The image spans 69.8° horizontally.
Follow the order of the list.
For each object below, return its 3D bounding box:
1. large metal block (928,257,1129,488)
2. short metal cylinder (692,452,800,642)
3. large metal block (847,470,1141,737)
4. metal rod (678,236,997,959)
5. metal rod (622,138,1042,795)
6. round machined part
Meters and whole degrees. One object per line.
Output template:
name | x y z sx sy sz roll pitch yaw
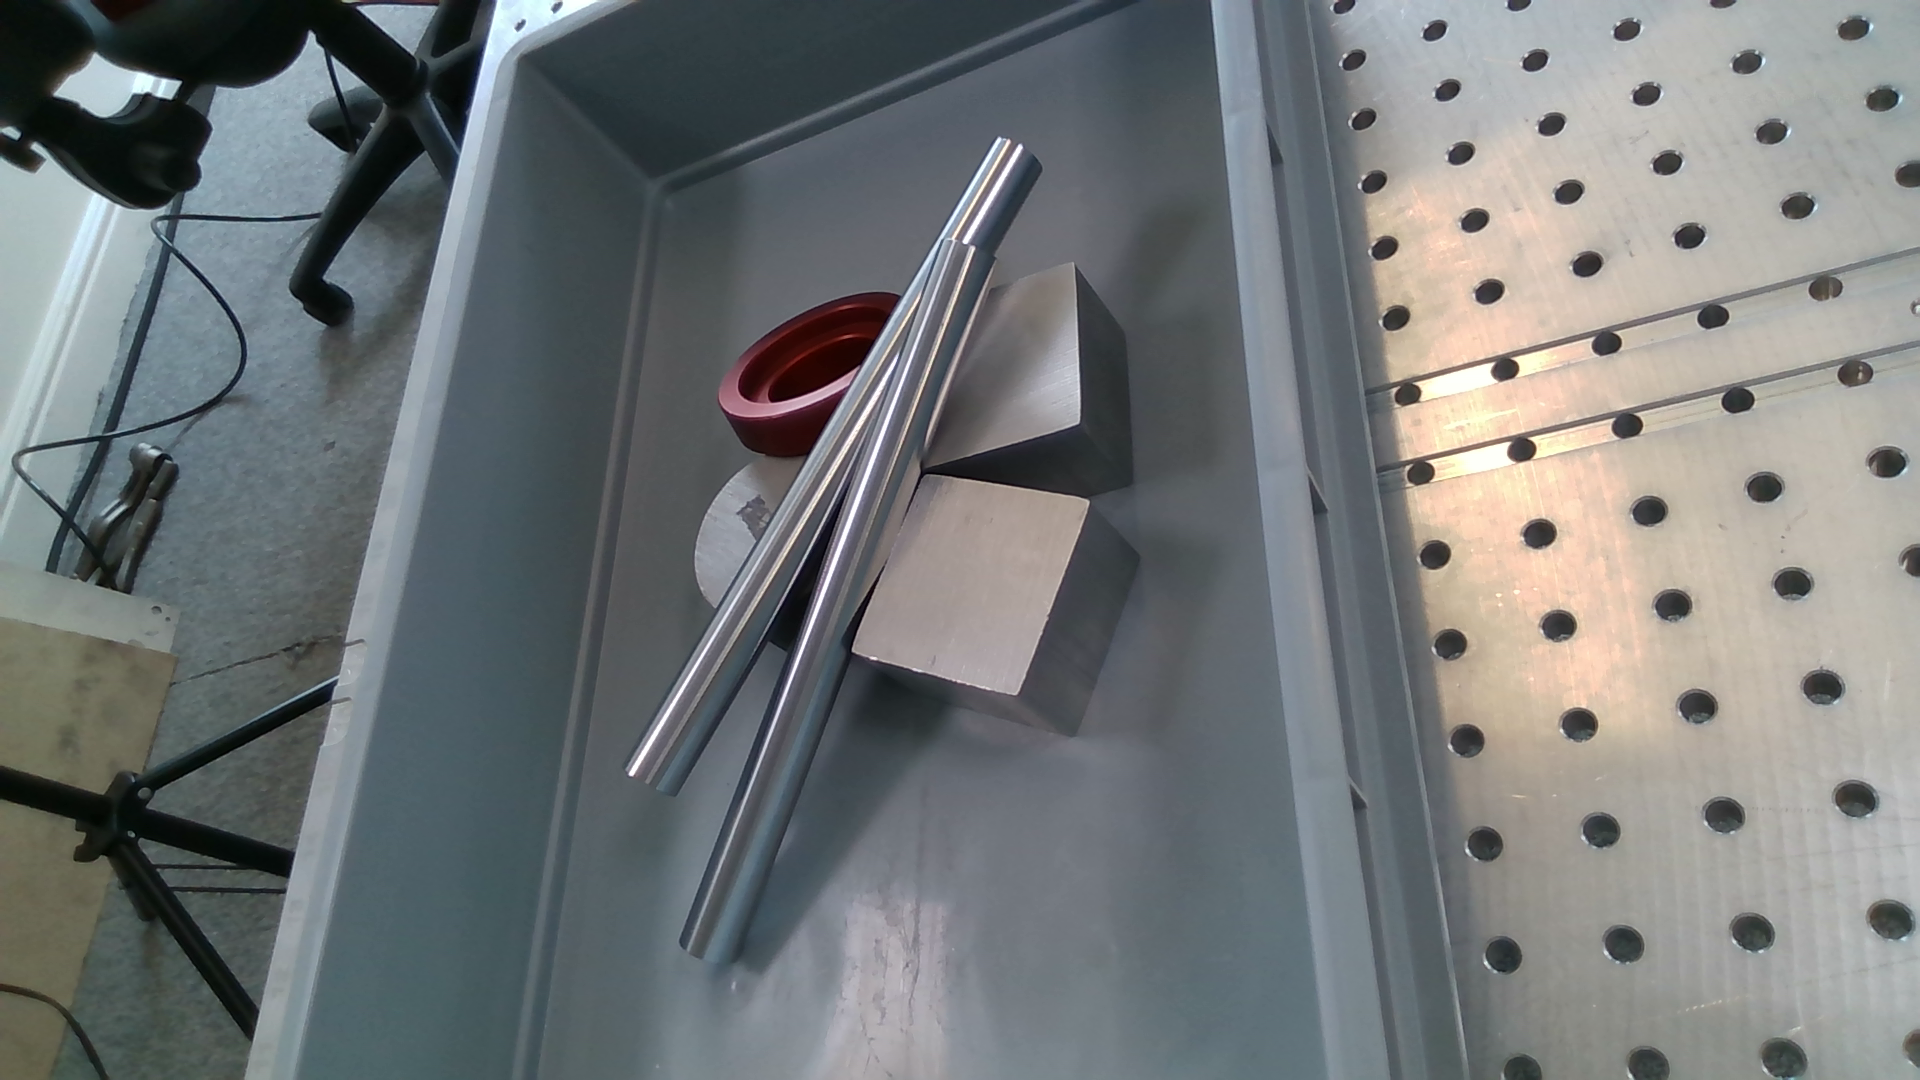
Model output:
large metal block | 0.023 -0.062 0.583 0.080 0.050 0.080 -14 59 25
short metal cylinder | -0.071 0.006 0.607 0.080 0.050 0.080 -14 59 25
large metal block | 0.014 0.024 0.546 0.080 0.050 0.080 11 72 35
metal rod | -0.050 0.024 0.554 0.025 0.025 0.300 23 93 38
metal rod | -0.050 -0.034 0.567 0.025 0.025 0.300 24 80 38
round machined part | -0.058 -0.070 0.631 0.098 0.042 0.098 -19 34 13
